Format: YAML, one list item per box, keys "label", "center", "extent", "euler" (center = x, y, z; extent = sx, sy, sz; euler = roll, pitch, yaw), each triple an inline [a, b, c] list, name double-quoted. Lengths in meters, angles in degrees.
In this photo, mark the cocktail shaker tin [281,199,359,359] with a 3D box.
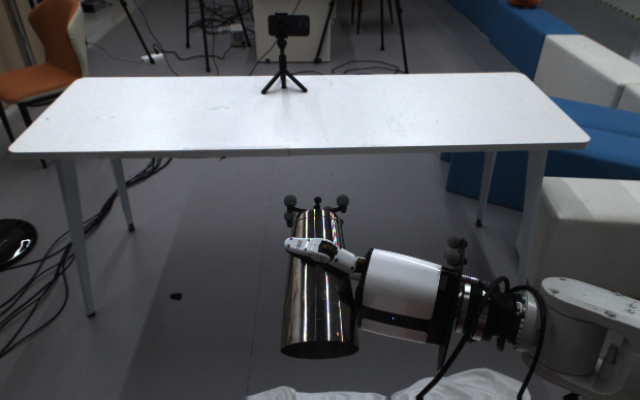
- label: "cocktail shaker tin"
  center: [-0.003, 0.101, 0.598]
  extent: [0.093, 0.093, 0.170]
  euler: [0, 59, -3]
